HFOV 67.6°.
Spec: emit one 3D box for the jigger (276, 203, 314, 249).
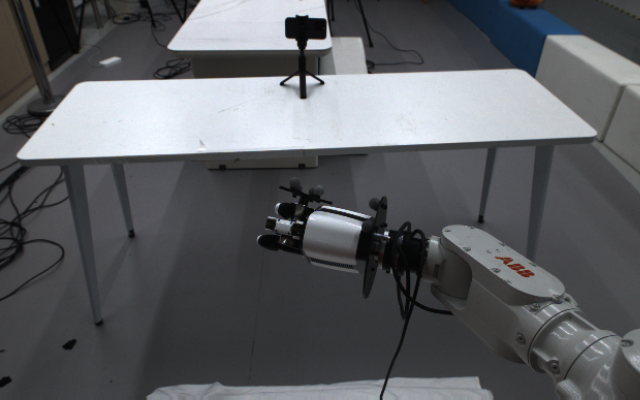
[{"bbox_3d":[-0.038,0.040,0.767,0.043,0.071,0.043,18,-6,2],"label":"jigger"}]
